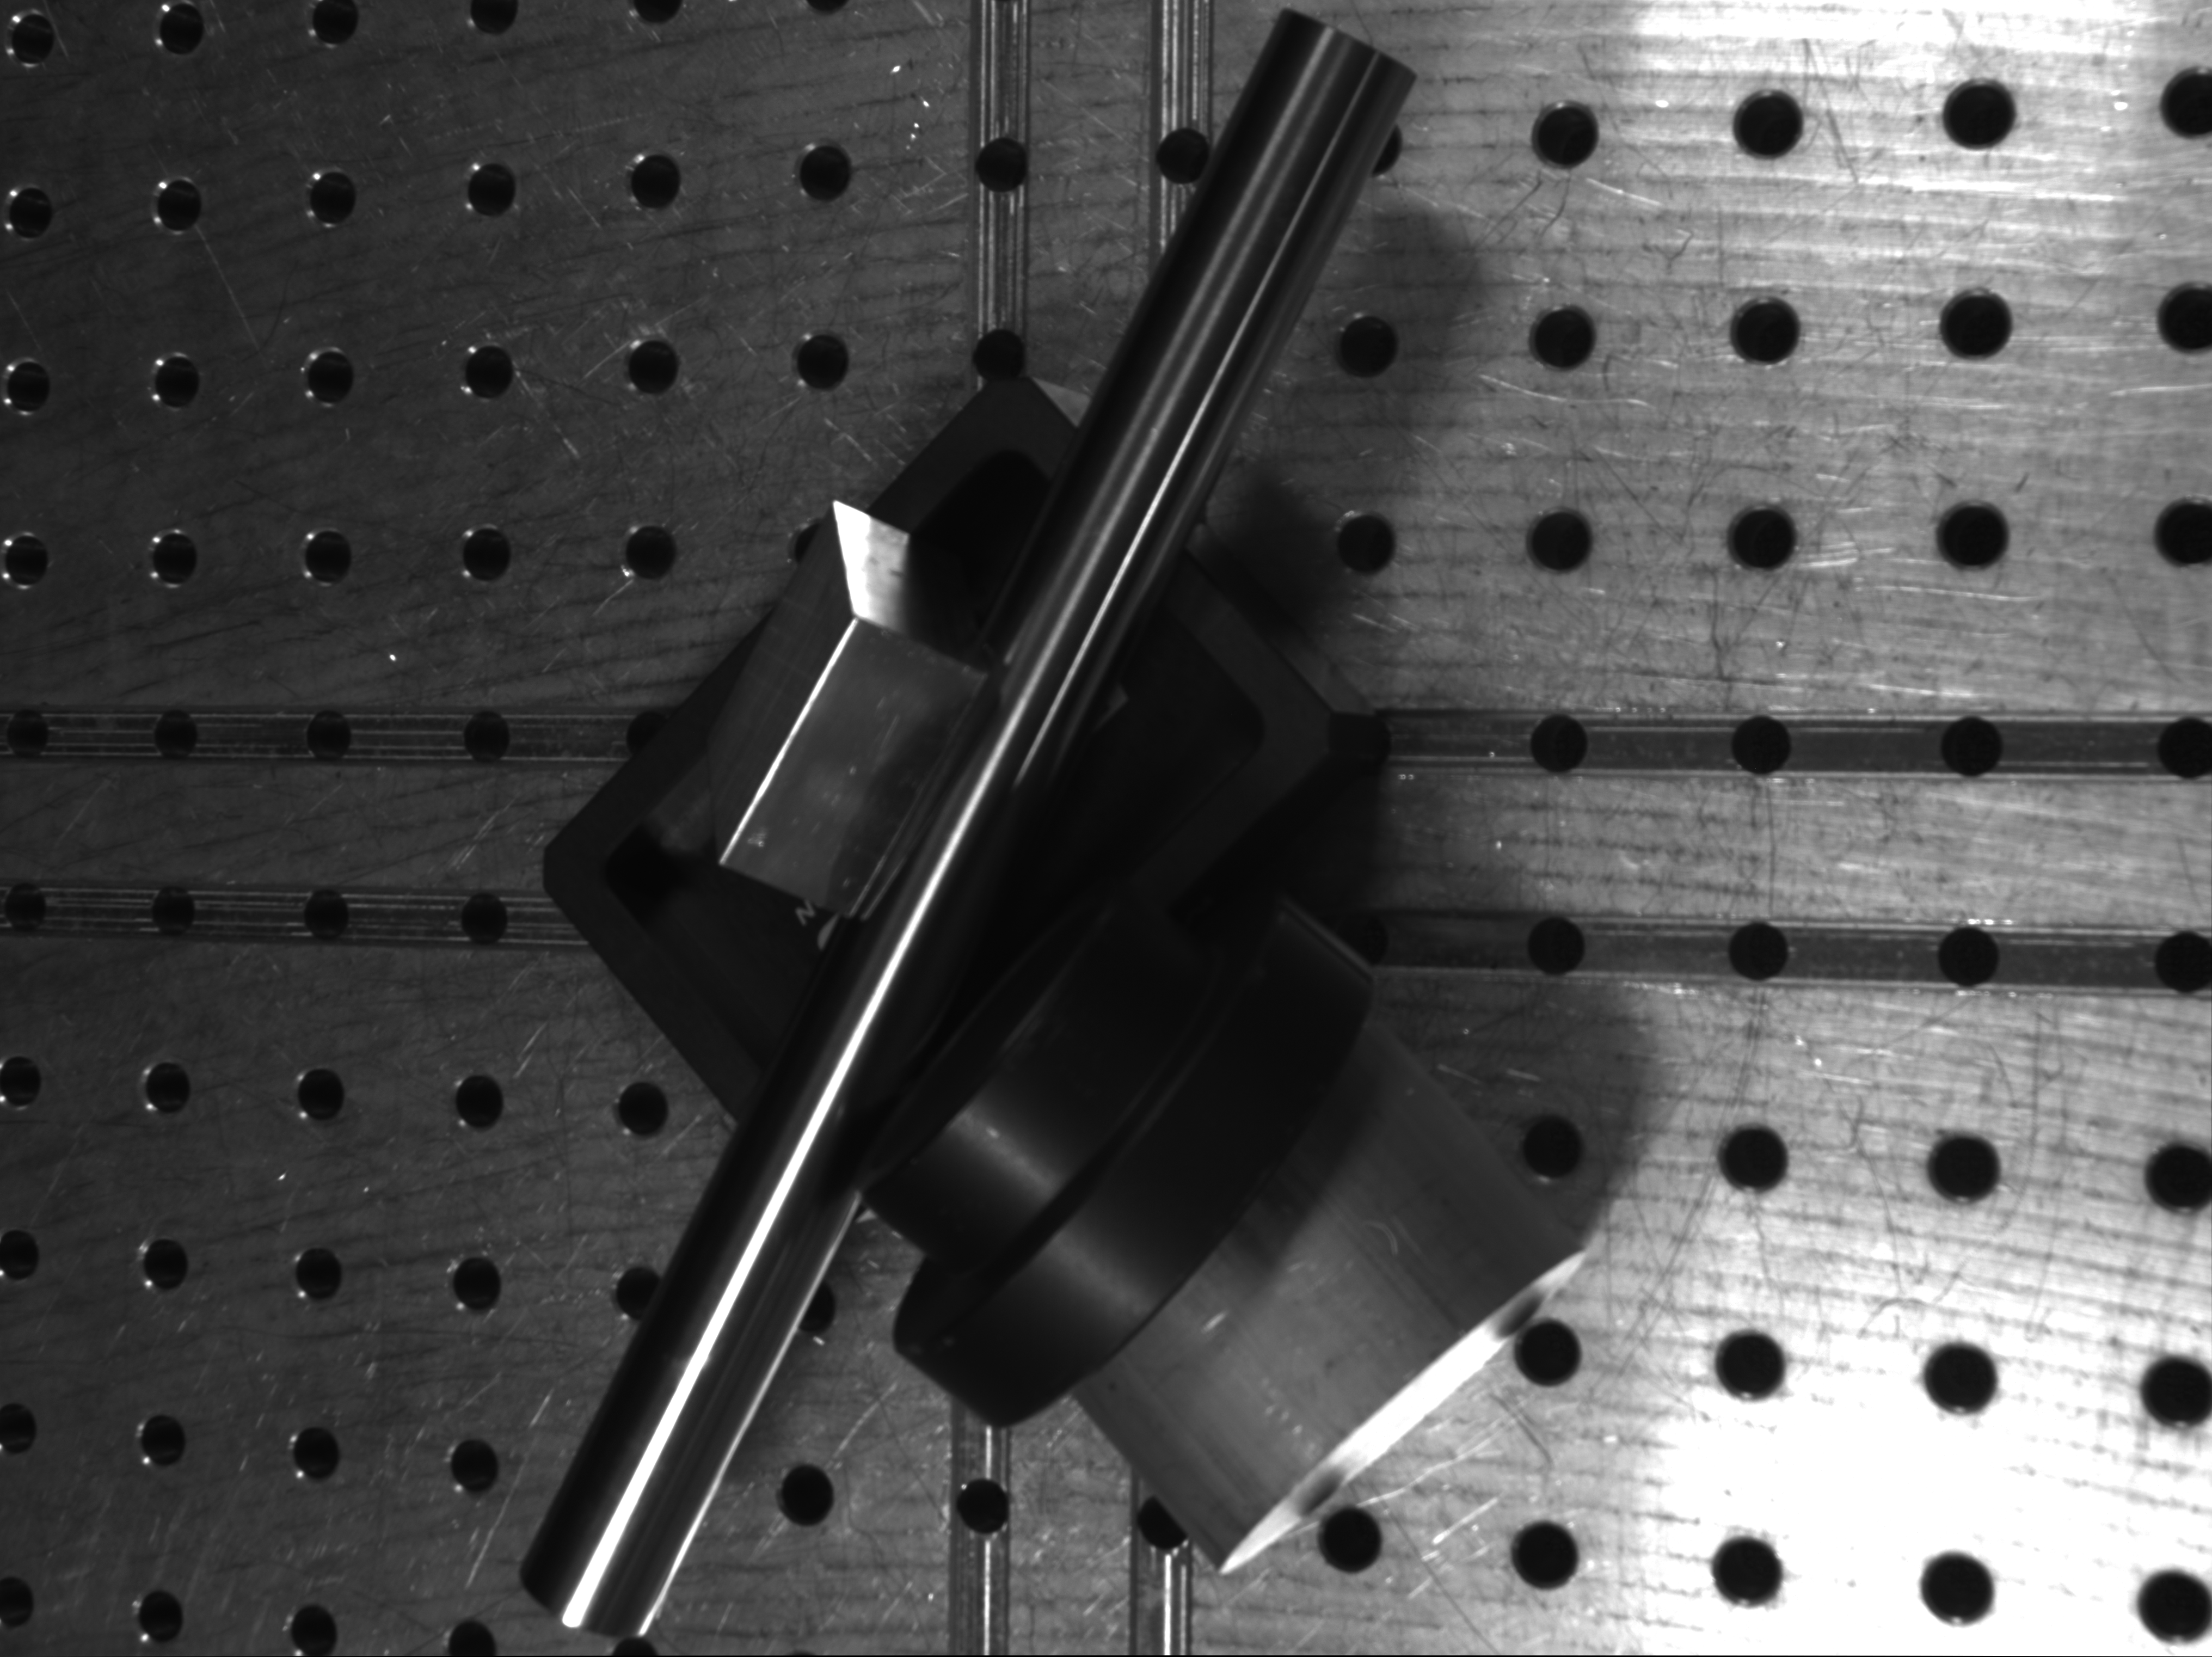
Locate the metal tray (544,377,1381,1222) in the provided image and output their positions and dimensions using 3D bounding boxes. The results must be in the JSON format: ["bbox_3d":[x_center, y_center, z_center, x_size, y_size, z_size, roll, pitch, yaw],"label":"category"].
[{"bbox_3d":[-0.027,-0.004,0.653,0.130,0.030,0.090,-45,76,14],"label":"metal tray"}]

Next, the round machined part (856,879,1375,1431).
[{"bbox_3d":[-0.004,0.047,0.598,0.042,0.098,0.098,40,103,-7],"label":"round machined part"}]

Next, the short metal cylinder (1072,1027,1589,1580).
[{"bbox_3d":[0.033,0.078,0.604,0.080,0.080,0.050,-45,76,14],"label":"short metal cylinder"}]

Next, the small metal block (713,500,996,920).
[{"bbox_3d":[-0.044,-0.021,0.626,0.025,0.050,0.050,23,111,-19],"label":"small metal block"}]

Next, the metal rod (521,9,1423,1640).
[{"bbox_3d":[-0.026,0.004,0.624,0.025,0.025,0.300,29,99,17],"label":"metal rod"}]
